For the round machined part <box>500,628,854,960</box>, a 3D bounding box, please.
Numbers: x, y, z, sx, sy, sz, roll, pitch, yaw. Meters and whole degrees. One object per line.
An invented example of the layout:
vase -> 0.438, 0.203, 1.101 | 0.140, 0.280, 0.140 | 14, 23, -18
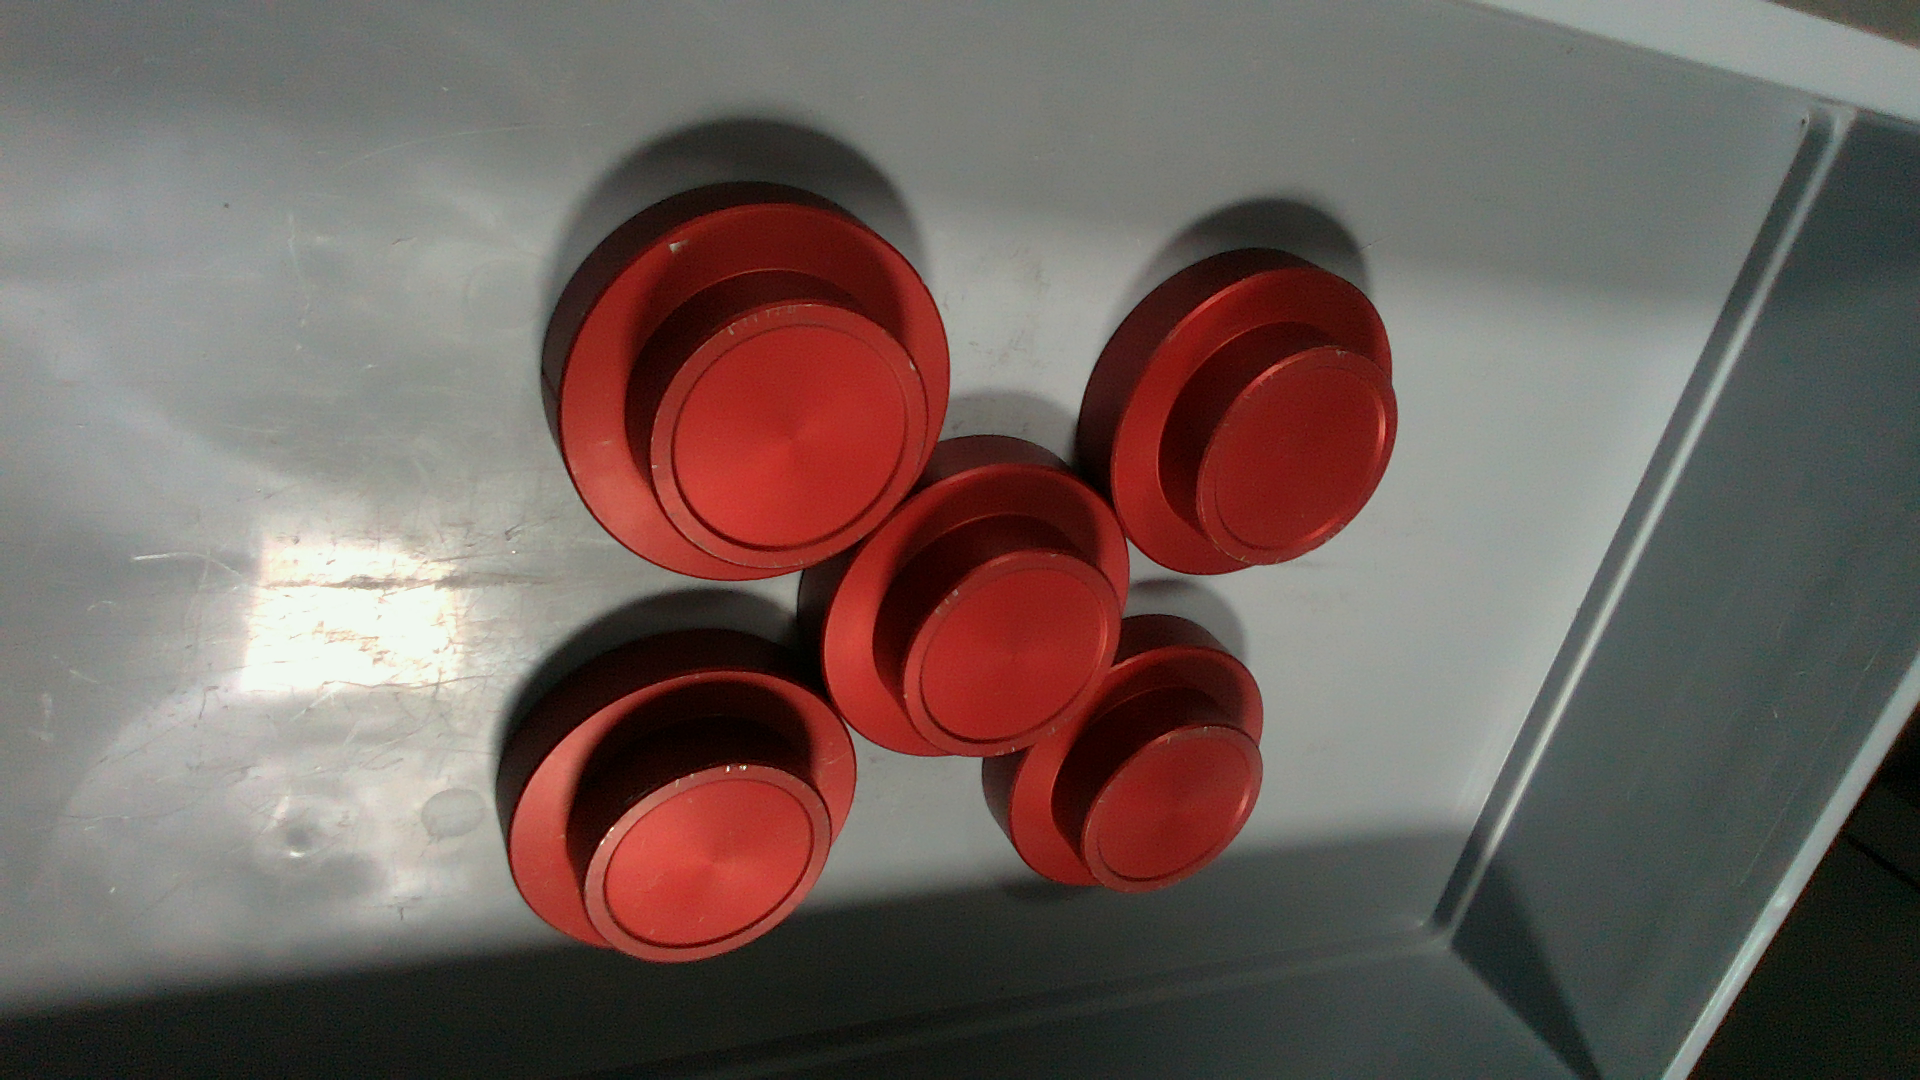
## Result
round machined part -> -0.075, 0.077, 0.384 | 0.098, 0.042, 0.098 | -14, 124, -21

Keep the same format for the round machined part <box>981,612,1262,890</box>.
round machined part -> 0.060, 0.076, 0.456 | 0.098, 0.042, 0.098 | -14, 124, -21

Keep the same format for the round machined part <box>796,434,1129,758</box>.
round machined part -> 0.006, 0.023, 0.393 | 0.098, 0.042, 0.098 | -14, 124, -21

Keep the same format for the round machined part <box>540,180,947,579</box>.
round machined part -> -0.047, -0.032, 0.332 | 0.098, 0.042, 0.098 | -14, 124, -21

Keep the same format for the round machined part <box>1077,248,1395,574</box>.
round machined part -> 0.087, -0.032, 0.405 | 0.098, 0.042, 0.098 | -14, 124, -21
